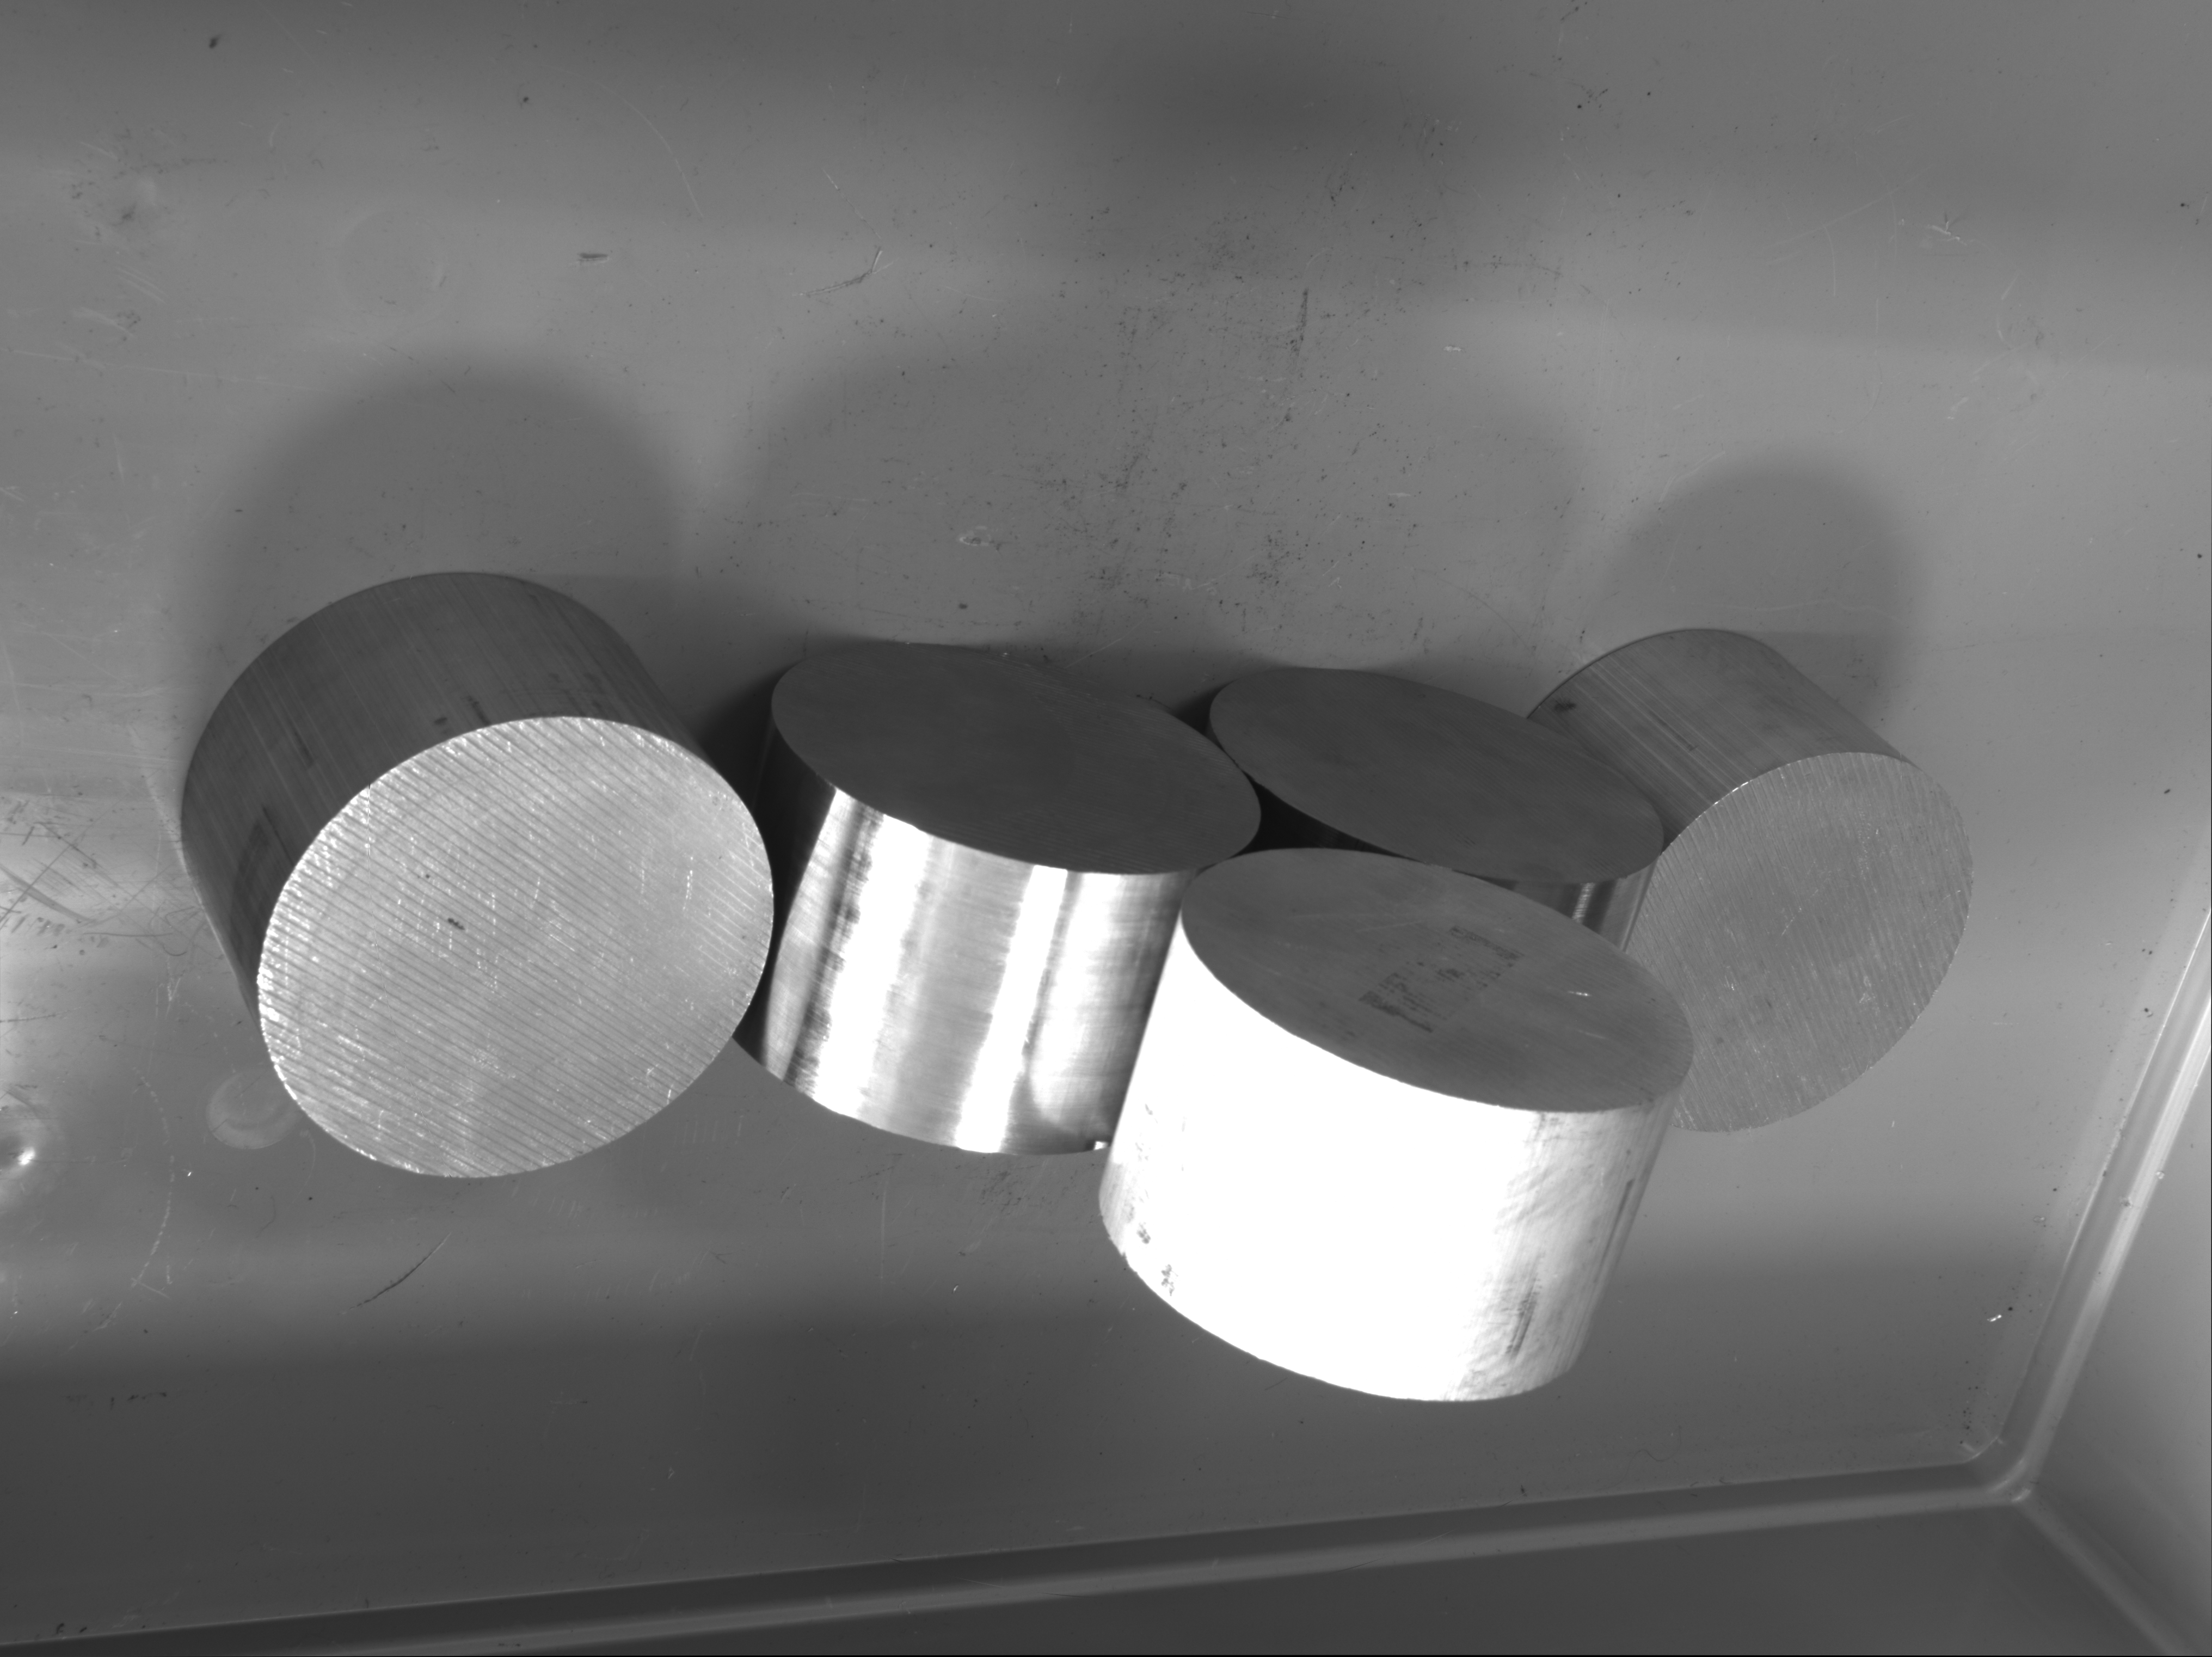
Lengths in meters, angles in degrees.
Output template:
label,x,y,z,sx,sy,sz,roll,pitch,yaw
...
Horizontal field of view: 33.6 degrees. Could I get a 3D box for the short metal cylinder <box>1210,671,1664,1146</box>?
label,x,y,z,sx,sy,sz,roll,pitch,yaw
short metal cylinder,0.051,0.013,0.635,0.080,0.080,0.050,2,117,-29

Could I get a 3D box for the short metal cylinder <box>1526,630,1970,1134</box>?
label,x,y,z,sx,sy,sz,roll,pitch,yaw
short metal cylinder,0.113,0.010,0.687,0.080,0.050,0.080,-14,124,-21

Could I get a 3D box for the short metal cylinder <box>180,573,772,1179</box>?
label,x,y,z,sx,sy,sz,roll,pitch,yaw
short metal cylinder,-0.098,0.007,0.571,0.080,0.050,0.080,-14,124,-21

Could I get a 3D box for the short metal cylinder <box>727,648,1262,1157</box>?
label,x,y,z,sx,sy,sz,roll,pitch,yaw
short metal cylinder,-0.020,0.011,0.596,0.080,0.080,0.050,2,117,-29

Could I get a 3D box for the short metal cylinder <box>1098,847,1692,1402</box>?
label,x,y,z,sx,sy,sz,roll,pitch,yaw
short metal cylinder,0.044,0.044,0.562,0.080,0.080,0.050,2,117,-29
